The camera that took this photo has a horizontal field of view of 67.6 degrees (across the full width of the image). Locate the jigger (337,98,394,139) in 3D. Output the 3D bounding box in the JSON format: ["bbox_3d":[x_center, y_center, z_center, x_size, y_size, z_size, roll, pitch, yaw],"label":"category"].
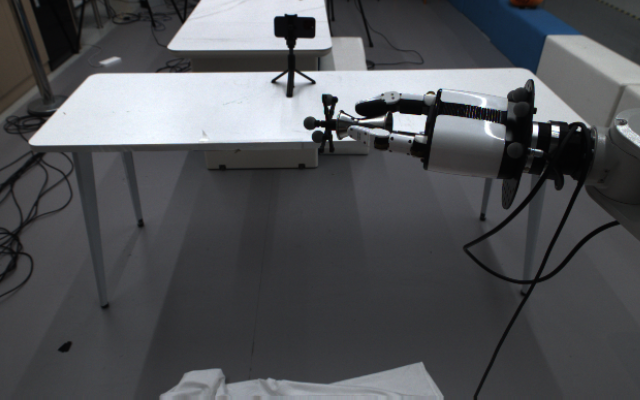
[{"bbox_3d":[0.066,-0.105,0.647,0.071,0.043,0.043,5,34,20],"label":"jigger"}]
